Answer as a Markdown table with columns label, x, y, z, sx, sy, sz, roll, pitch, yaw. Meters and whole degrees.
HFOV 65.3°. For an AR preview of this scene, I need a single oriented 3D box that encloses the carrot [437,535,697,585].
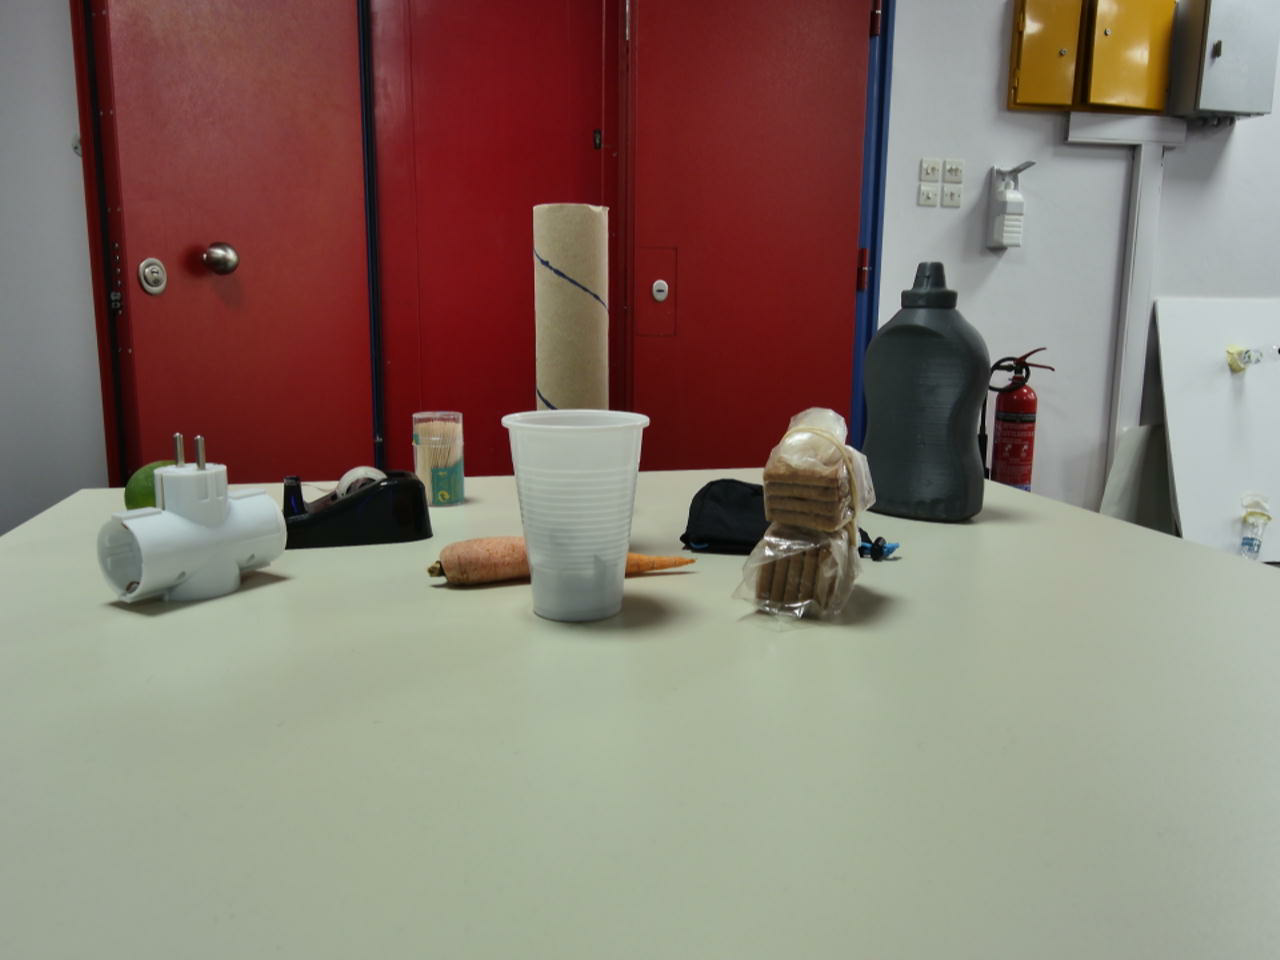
| label | x | y | z | sx | sy | sz | roll | pitch | yaw |
| --- | --- | --- | --- | --- | --- | --- | --- | --- | --- |
| carrot | -0.044 | 0.048 | 0.618 | 0.163 | 0.029 | 0.031 | -2 | 8 | -12 |
